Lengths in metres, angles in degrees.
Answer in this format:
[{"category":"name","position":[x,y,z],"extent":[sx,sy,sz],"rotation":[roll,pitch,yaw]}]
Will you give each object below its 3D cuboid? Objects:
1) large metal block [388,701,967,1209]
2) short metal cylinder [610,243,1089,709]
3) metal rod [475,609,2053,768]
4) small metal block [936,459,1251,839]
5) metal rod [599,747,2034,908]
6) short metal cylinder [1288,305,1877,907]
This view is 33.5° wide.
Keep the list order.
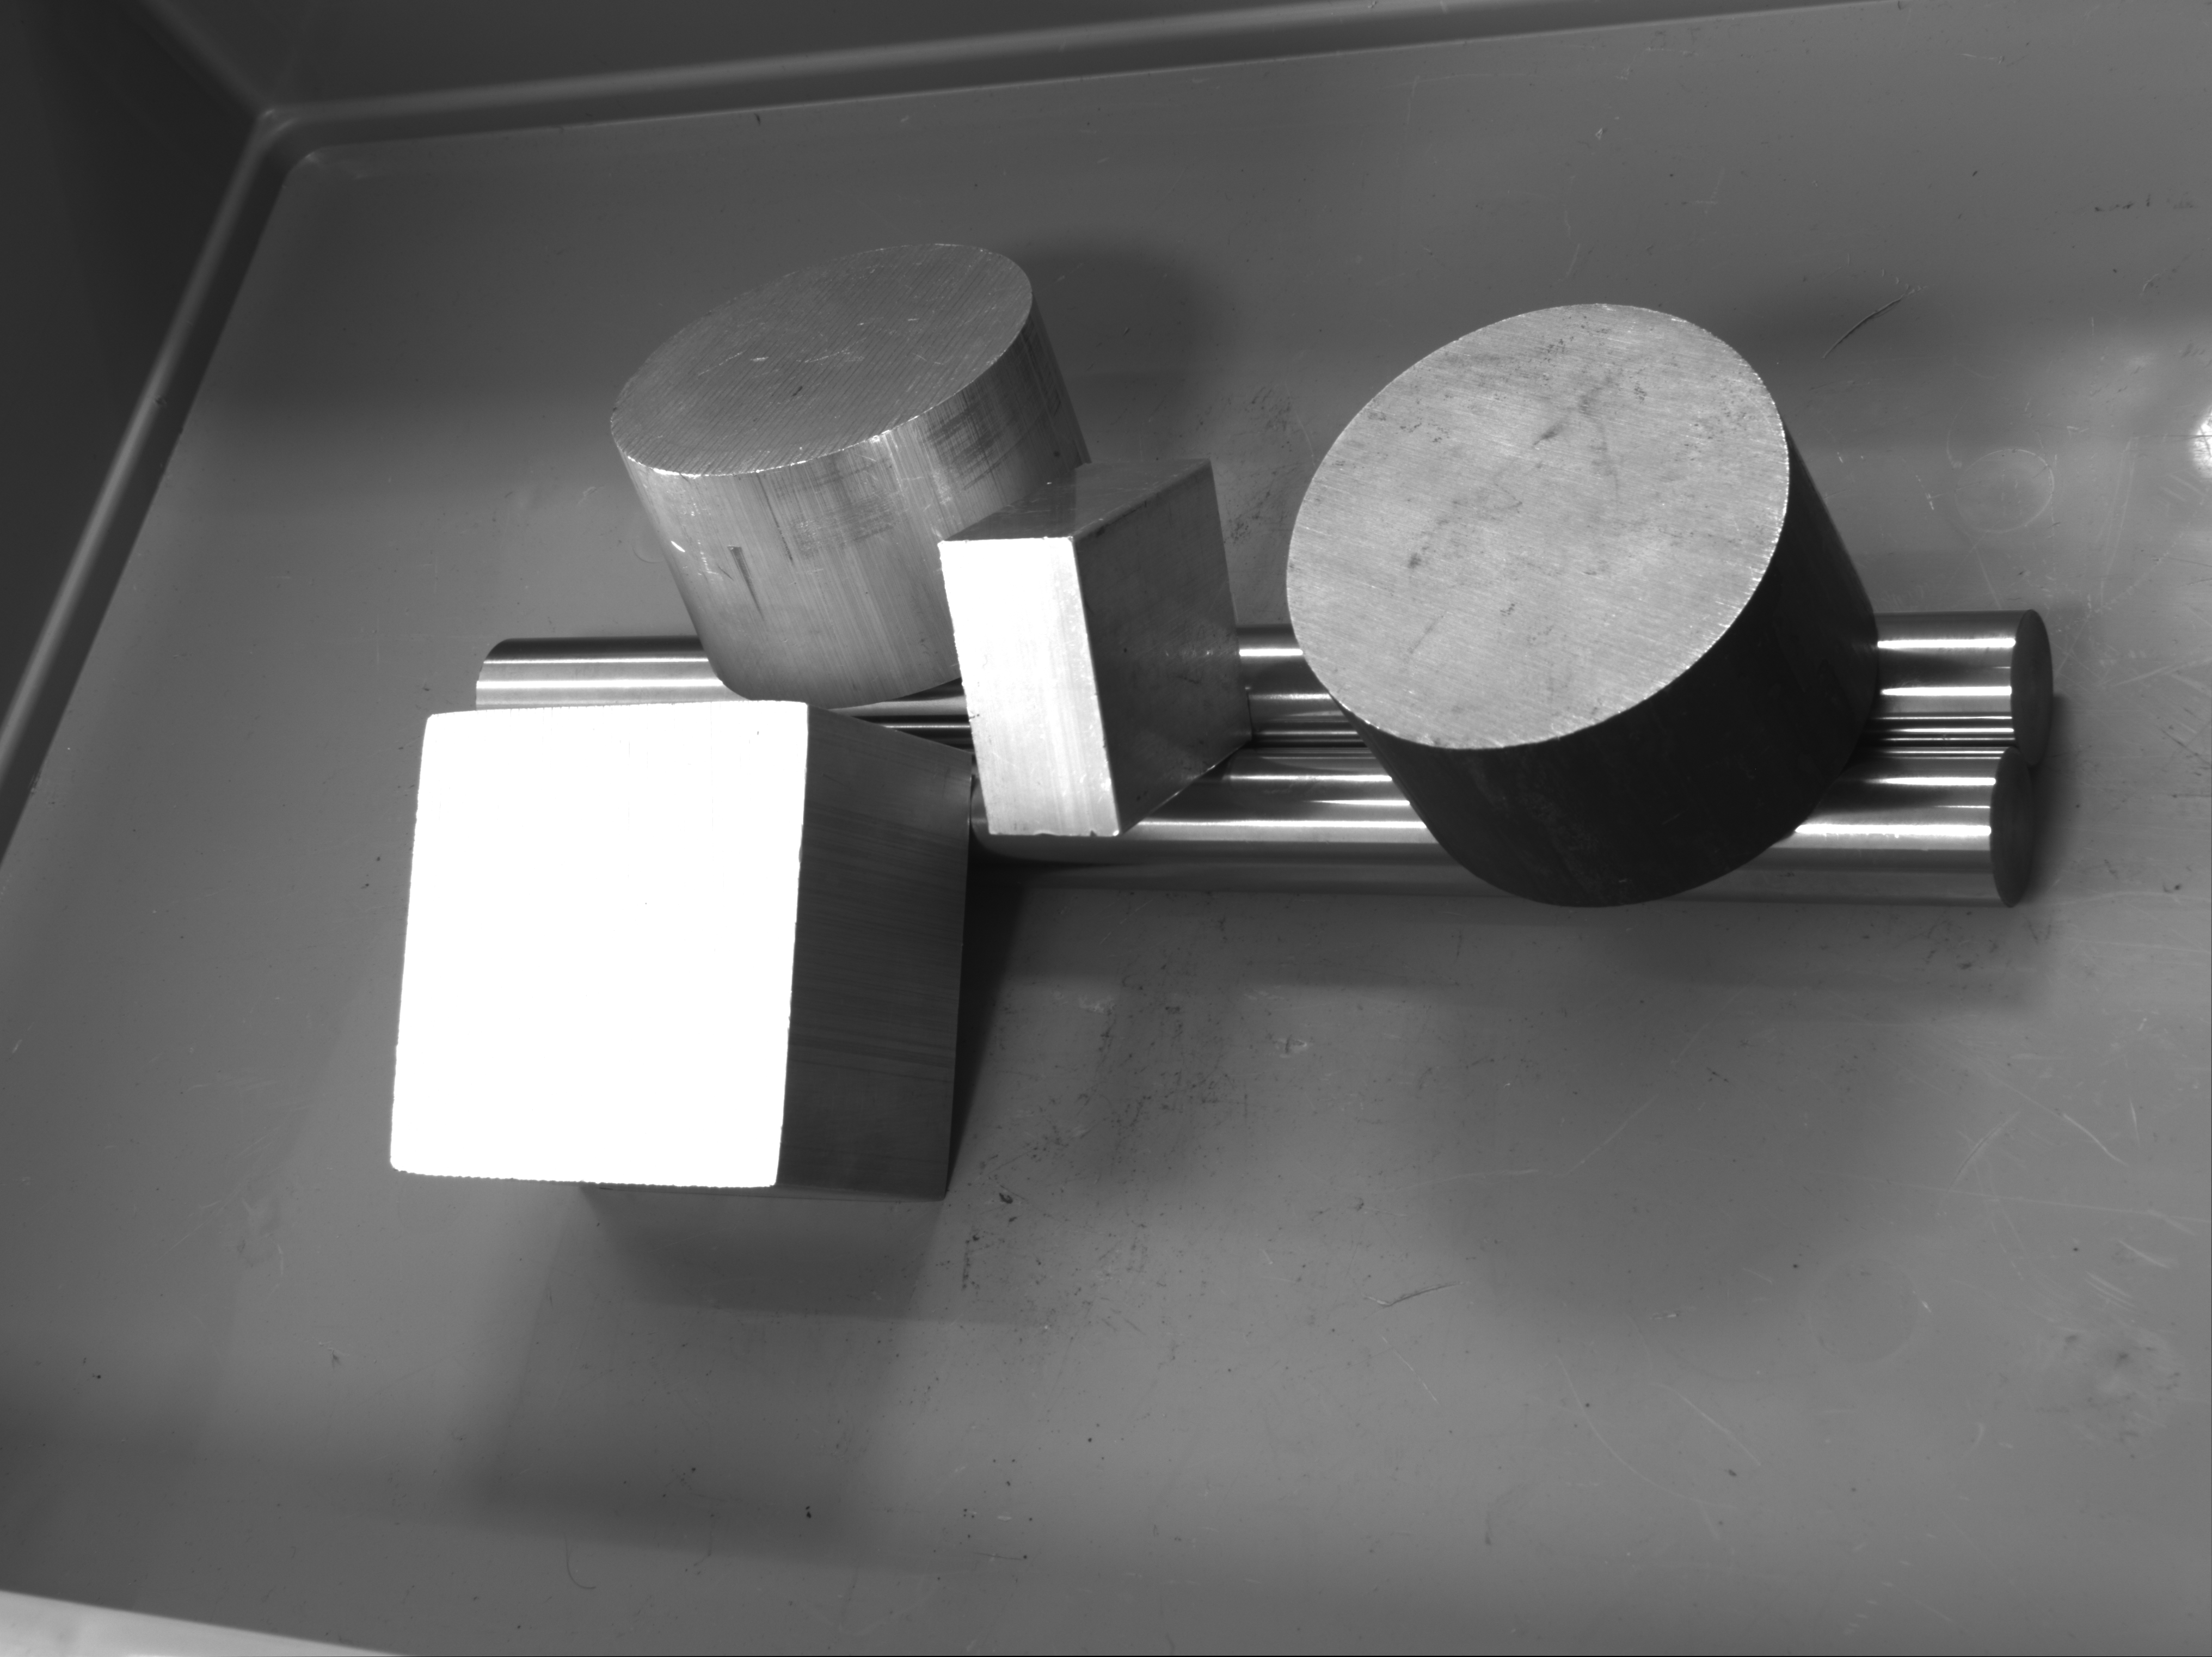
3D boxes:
[{"category":"large metal block","position":[-0.073,0.023,0.636],"extent":[0.080,0.050,0.080],"rotation":[-1,81,28]},{"category":"short metal cylinder","position":[-0.044,-0.065,0.674],"extent":[0.080,0.050,0.080],"rotation":[-14,33,9]},{"category":"metal rod","position":[0.015,-0.023,0.651],"extent":[0.299,0.025,0.025],"rotation":[1,62,29]},{"category":"small metal block","position":[-0.001,-0.030,0.611],"extent":[0.025,0.050,0.050],"rotation":[1,20,29]},{"category":"metal rod","position":[0.009,-0.001,0.640],"extent":[0.299,0.025,0.025],"rotation":[1,62,29]},{"category":"short metal cylinder","position":[0.075,-0.035,0.576],"extent":[0.080,0.050,0.080],"rotation":[-14,56,21]}]
